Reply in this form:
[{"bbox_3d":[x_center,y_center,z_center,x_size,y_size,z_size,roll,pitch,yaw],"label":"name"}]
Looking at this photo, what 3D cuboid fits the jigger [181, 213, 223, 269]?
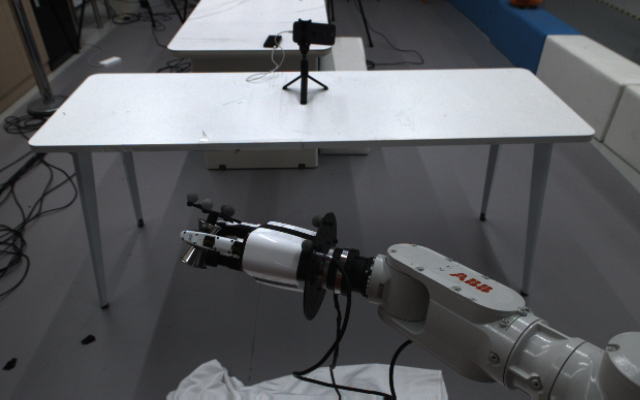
[{"bbox_3d":[-0.183,0.065,0.741,0.043,0.071,0.043,24,-2,1],"label":"jigger"}]
